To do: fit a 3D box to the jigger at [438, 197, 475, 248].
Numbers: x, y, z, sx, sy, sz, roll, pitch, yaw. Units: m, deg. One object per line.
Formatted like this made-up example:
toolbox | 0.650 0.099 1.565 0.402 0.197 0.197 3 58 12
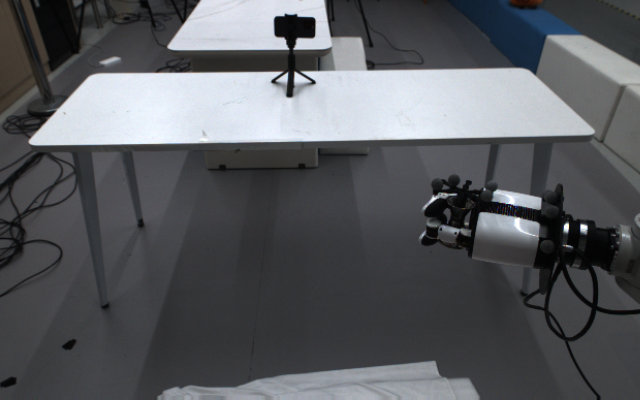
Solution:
jigger | 0.209 0.032 0.729 0.043 0.071 0.043 3 25 -1
